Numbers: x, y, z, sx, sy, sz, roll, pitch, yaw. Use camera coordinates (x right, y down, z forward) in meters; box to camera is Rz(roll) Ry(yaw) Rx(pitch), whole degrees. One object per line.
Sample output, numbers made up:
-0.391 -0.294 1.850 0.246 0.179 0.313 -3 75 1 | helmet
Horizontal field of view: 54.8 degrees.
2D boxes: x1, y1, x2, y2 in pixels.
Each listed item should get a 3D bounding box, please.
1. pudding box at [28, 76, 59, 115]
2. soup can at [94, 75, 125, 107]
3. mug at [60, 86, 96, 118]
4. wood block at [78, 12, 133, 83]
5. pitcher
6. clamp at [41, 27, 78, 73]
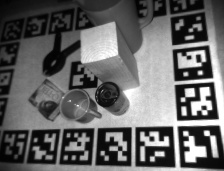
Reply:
-0.219 0.031 0.701 0.112 0.039 0.090 33 87 26 | pudding box
-0.008 0.018 0.596 0.067 0.103 0.068 -5 72 18 | soup can
-0.093 0.051 0.624 0.116 0.082 0.093 31 81 27 | mug
-0.009 -0.085 0.574 0.089 0.208 0.090 -9 68 13 | wood block
0.009 -0.207 0.595 0.187 0.245 0.133 -9 66 19 | pitcher
-0.198 -0.121 0.754 0.121 0.037 0.165 24 81 17 | clamp
